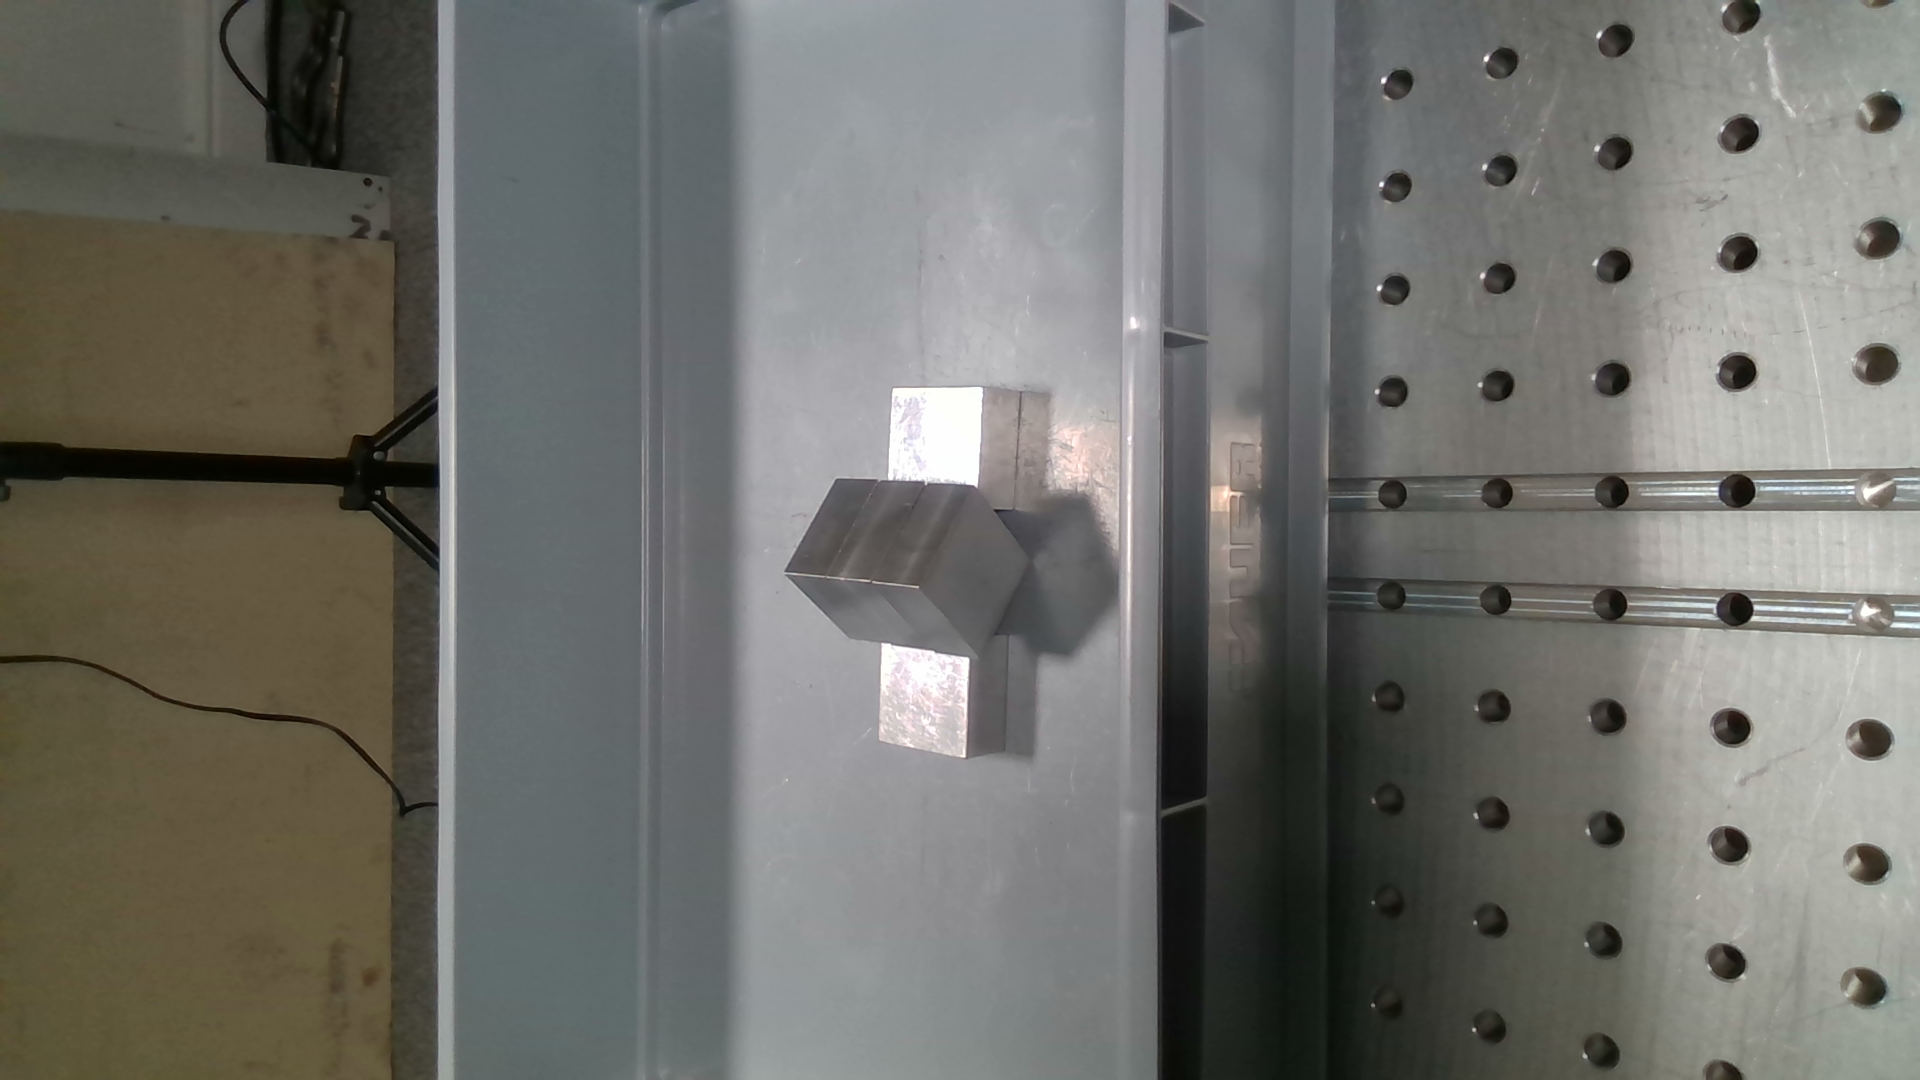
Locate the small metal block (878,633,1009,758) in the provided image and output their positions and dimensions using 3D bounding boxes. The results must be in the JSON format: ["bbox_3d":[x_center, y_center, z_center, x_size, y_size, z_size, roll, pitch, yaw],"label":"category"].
[{"bbox_3d":[-0.008,0.063,0.588,0.050,0.025,0.050,4,93,40],"label":"small metal block"}]

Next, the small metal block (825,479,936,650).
[{"bbox_3d":[-0.022,0.010,0.569,0.025,0.050,0.050,3,56,39],"label":"small metal block"}]

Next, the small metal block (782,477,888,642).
[{"bbox_3d":[-0.041,0.008,0.586,0.025,0.050,0.050,3,56,39],"label":"small metal block"}]

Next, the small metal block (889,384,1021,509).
[{"bbox_3d":[-0.003,-0.040,0.583,0.050,0.025,0.050,5,94,40],"label":"small metal block"}]

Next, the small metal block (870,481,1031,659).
[{"bbox_3d":[-0.003,0.012,0.553,0.025,0.050,0.050,5,57,40],"label":"small metal block"}]
